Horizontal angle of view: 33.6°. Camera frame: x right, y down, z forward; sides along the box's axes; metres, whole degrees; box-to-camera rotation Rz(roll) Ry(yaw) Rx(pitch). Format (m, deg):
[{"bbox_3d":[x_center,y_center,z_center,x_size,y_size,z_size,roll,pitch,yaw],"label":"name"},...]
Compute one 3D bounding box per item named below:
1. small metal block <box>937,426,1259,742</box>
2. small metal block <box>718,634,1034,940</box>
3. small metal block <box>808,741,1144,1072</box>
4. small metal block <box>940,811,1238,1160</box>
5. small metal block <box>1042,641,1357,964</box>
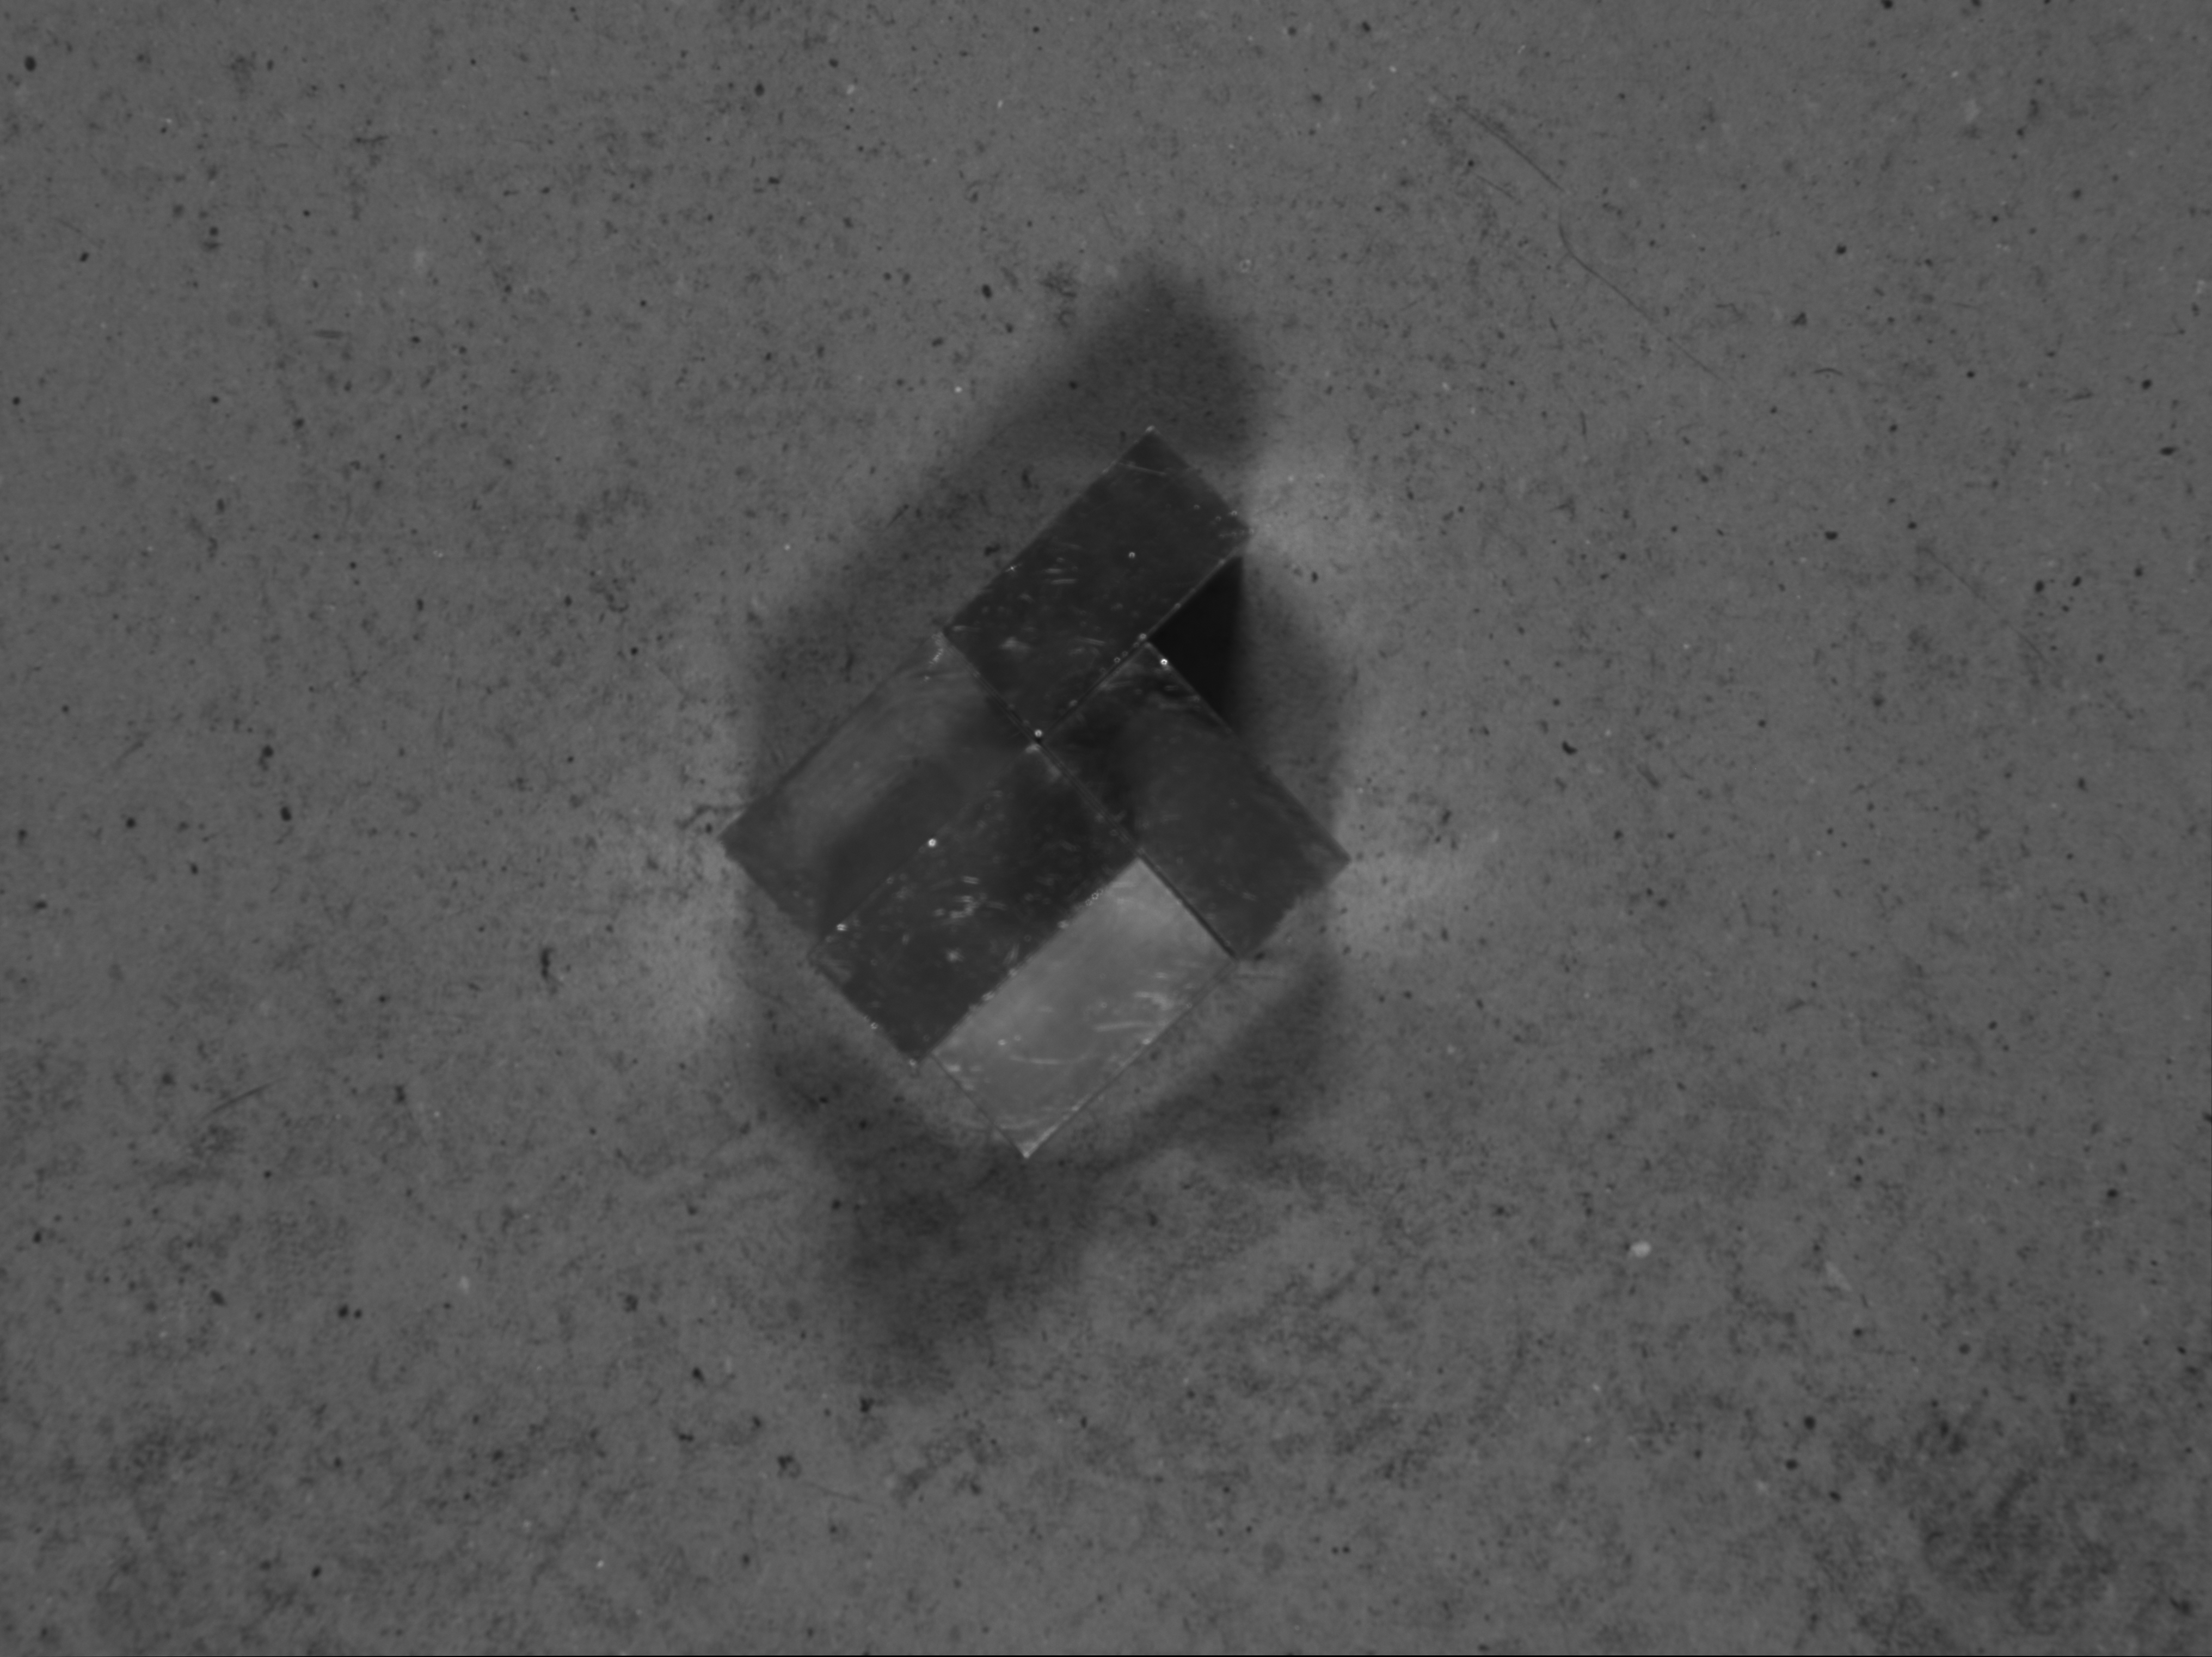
[{"bbox_3d":[-0.001,-0.041,0.633,0.050,0.050,0.025,-44,90,0],"label":"small metal block"},{"bbox_3d":[-0.038,-0.006,0.632,0.050,0.050,0.025,-44,90,0],"label":"small metal block"},{"bbox_3d":[-0.021,0.012,0.607,0.050,0.050,0.025,-44,90,0],"label":"small metal block"},{"bbox_3d":[-0.011,0.022,0.645,0.050,0.025,0.050,-43,90,0],"label":"small metal block"},{"bbox_3d":[0.015,-0.004,0.633,0.025,0.050,0.050,-43,90,0],"label":"small metal block"}]
